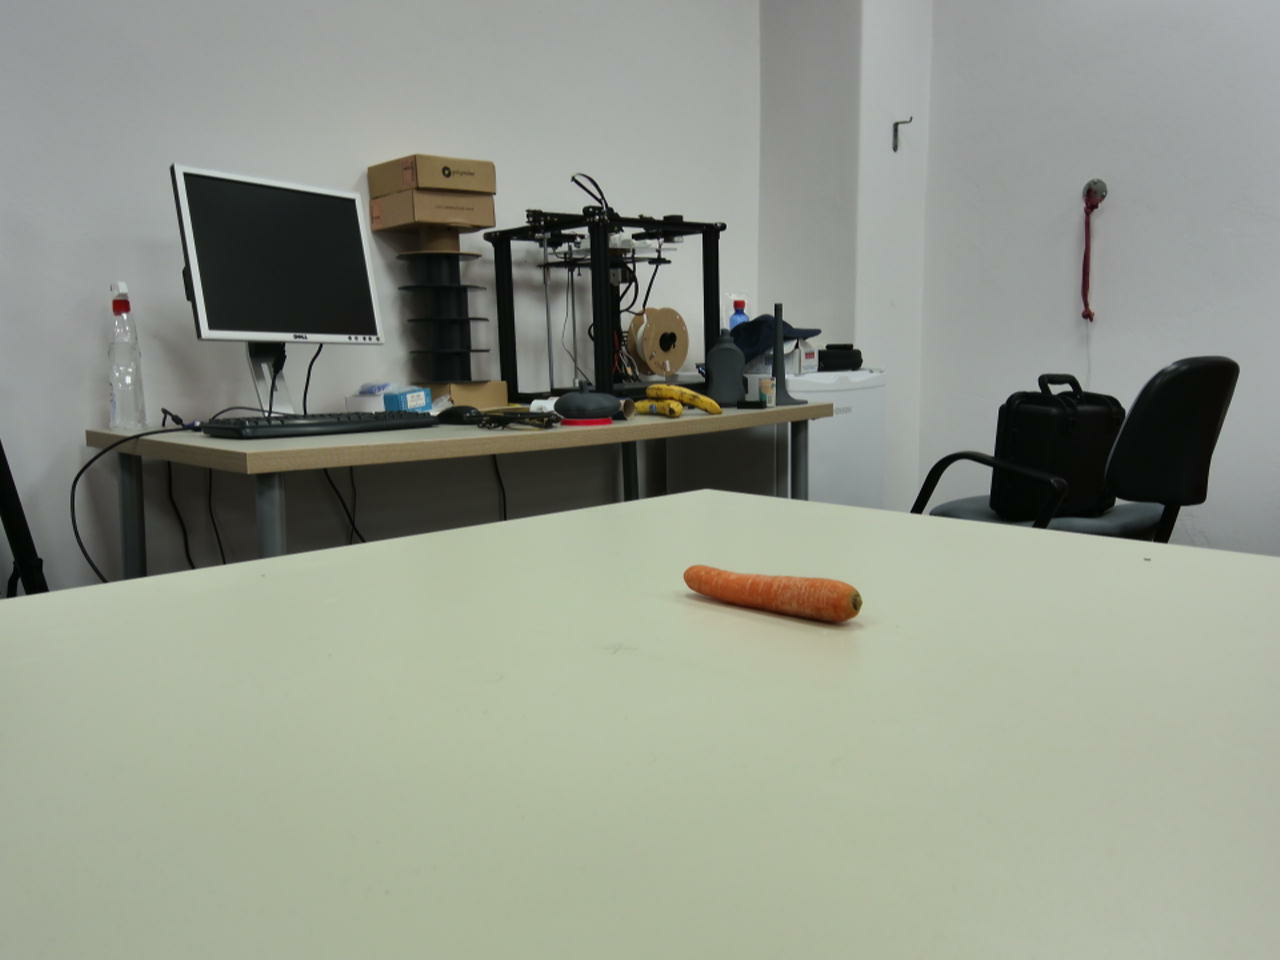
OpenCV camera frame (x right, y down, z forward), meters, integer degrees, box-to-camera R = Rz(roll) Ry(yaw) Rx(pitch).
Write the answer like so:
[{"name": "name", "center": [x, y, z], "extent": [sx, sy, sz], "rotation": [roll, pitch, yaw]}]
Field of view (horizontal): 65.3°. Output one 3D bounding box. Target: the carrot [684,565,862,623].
[{"name": "carrot", "center": [0.073, 0.063, 0.576], "extent": [0.122, 0.023, 0.024], "rotation": [6, 8, 44]}]
